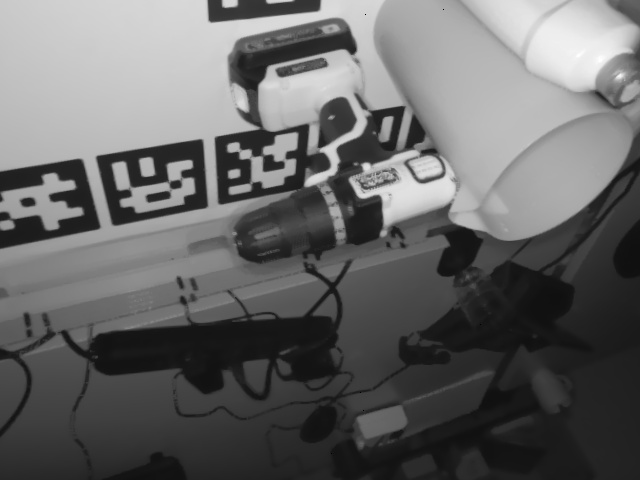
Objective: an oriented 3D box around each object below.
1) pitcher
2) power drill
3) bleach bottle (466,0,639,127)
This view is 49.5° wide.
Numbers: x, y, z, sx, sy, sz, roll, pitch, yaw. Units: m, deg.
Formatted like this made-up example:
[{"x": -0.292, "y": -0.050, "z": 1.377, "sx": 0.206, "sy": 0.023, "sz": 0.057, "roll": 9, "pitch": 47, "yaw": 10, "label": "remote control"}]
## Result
[{"x": 0.172, "y": -0.111, "z": 0.605, "sx": 0.188, "sy": 0.243, "sz": 0.133, "roll": -31, "pitch": 141, "yaw": 6, "label": "pitcher"}, {"x": 0.009, "y": -0.067, "z": 0.579, "sx": 0.185, "sy": 0.187, "sz": 0.057, "roll": -13, "pitch": 138, "yaw": -7, "label": "power drill"}, {"x": 0.192, "y": -0.165, "z": 0.519, "sx": 0.103, "sy": 0.251, "sz": 0.067, "roll": -19, "pitch": 142, "yaw": -9, "label": "bleach bottle"}]
